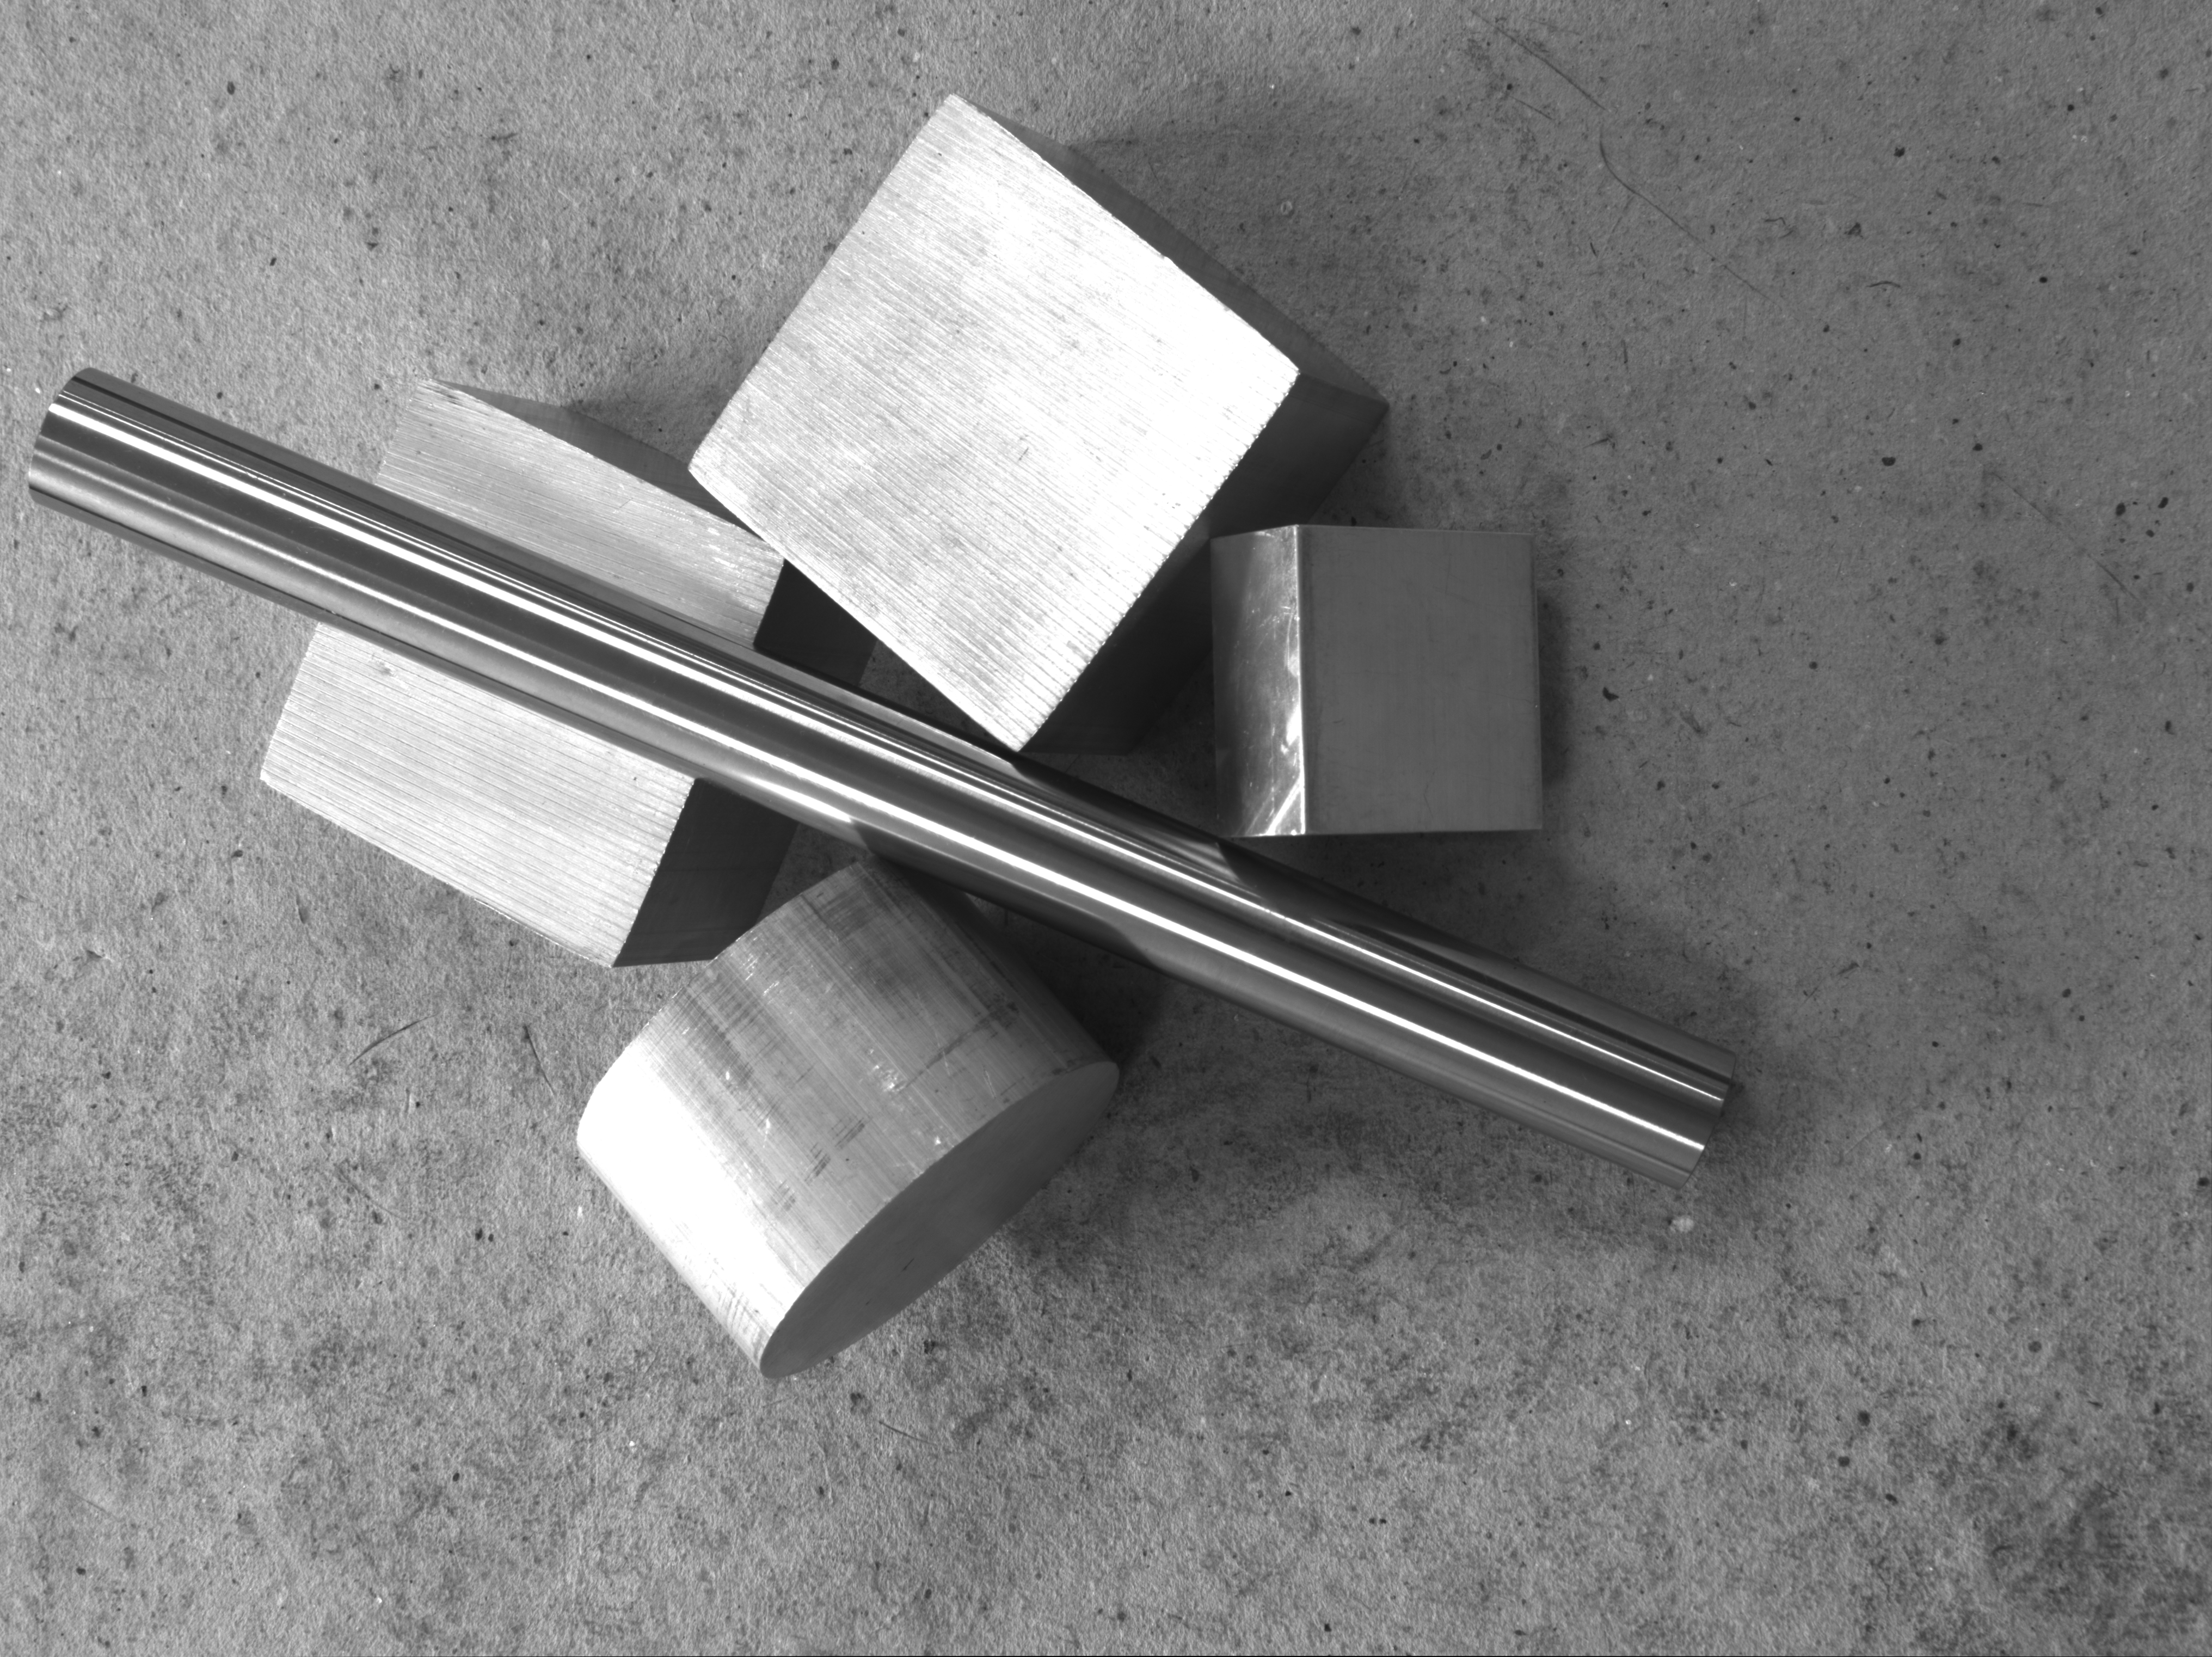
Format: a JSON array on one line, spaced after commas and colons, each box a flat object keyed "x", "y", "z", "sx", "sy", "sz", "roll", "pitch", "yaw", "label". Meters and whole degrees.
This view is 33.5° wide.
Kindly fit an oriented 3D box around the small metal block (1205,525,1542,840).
[{"x": 0.045, "y": -0.024, "z": 0.615, "sx": 0.025, "sy": 0.050, "sz": 0.050, "roll": -3, "pitch": 89, "yaw": 56, "label": "small metal block"}]

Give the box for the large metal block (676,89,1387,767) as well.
[{"x": -0.012, "y": -0.067, "z": 0.636, "sx": 0.080, "sy": 0.050, "sz": 0.080, "roll": 41, "pitch": 103, "yaw": 15, "label": "large metal block"}]

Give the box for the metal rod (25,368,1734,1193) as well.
[{"x": -0.039, "y": -0.009, "z": 0.617, "sx": 0.300, "sy": 0.025, "sz": 0.025, "roll": 23, "pitch": 98, "yaw": 2, "label": "metal rod"}]

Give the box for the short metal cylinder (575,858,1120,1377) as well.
[{"x": -0.044, "y": 0.049, "z": 0.633, "sx": 0.080, "sy": 0.080, "sz": 0.050, "roll": -46, "pitch": 76, "yaw": 14, "label": "short metal cylinder"}]

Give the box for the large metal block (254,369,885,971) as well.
[{"x": -0.095, "y": -0.028, "z": 0.668, "sx": 0.080, "sy": 0.050, "sz": 0.080, "roll": 26, "pitch": 99, "yaw": 18, "label": "large metal block"}]
